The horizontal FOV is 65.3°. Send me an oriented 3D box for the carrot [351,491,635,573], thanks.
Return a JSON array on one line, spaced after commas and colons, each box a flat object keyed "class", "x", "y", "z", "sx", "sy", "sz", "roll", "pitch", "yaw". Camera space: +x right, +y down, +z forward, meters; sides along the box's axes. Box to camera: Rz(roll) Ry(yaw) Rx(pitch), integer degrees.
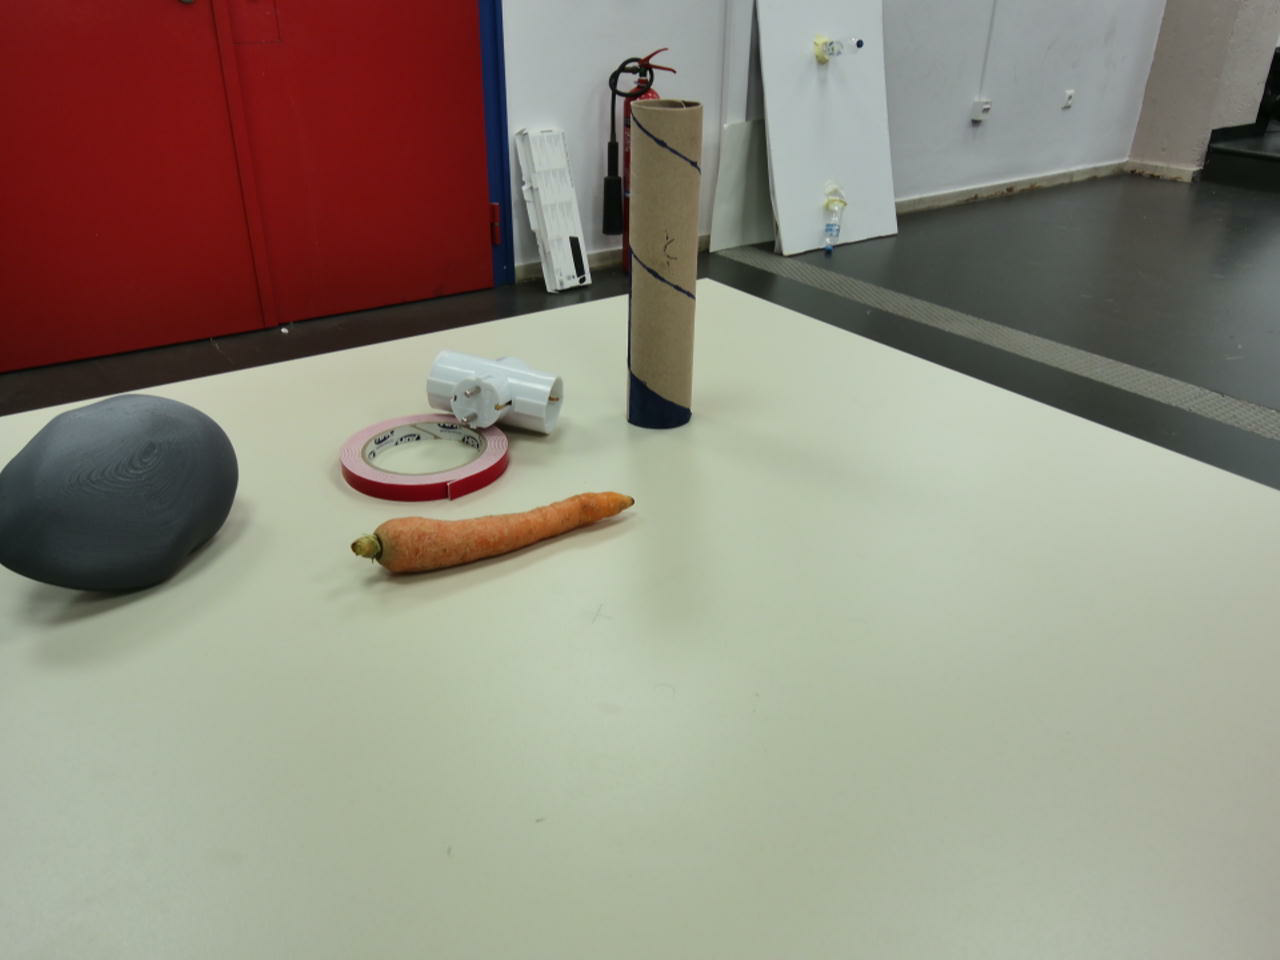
[{"class": "carrot", "x": -0.076, "y": 0.025, "z": 0.567, "sx": 0.173, "sy": 0.032, "sz": 0.030, "roll": -12, "pitch": 29, "yaw": -25}]
